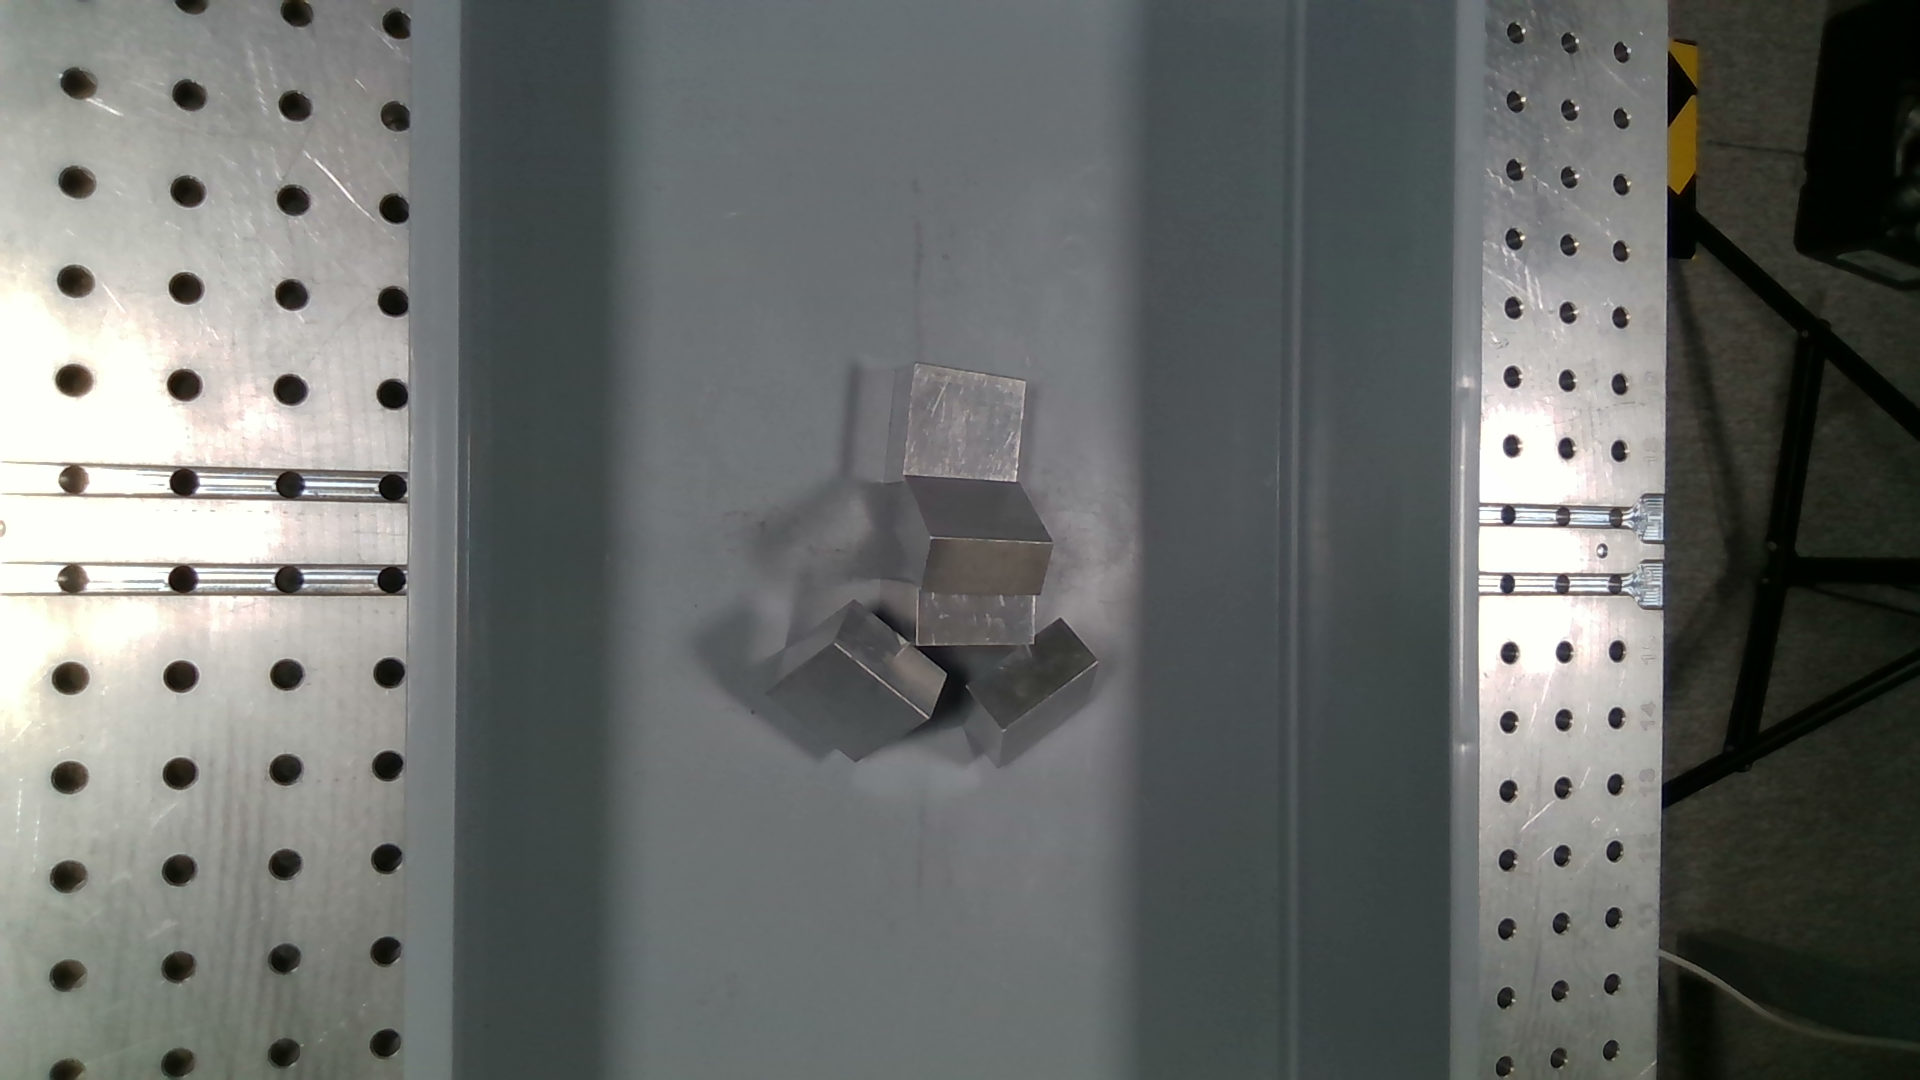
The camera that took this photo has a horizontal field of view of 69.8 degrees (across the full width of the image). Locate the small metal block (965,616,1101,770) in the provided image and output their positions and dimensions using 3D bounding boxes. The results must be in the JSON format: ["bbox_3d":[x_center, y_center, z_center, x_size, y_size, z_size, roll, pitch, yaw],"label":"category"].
[{"bbox_3d":[0.029,0.065,0.580,0.050,0.050,0.025,-34,69,-17],"label":"small metal block"}]

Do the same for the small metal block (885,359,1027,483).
[{"bbox_3d":[-0.002,-0.046,0.582,0.050,0.025,0.050,7,88,-20],"label":"small metal block"}]

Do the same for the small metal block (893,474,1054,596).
[{"bbox_3d":[0.004,-0.002,0.554,0.050,0.050,0.025,3,120,-18],"label":"small metal block"}]

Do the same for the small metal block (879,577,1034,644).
[{"bbox_3d":[-0.002,0.029,0.571,0.050,0.050,0.025,1,90,-20],"label":"small metal block"}]

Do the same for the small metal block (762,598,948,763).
[{"bbox_3d":[-0.042,0.057,0.553,0.050,0.050,0.025,40,42,-16],"label":"small metal block"}]
